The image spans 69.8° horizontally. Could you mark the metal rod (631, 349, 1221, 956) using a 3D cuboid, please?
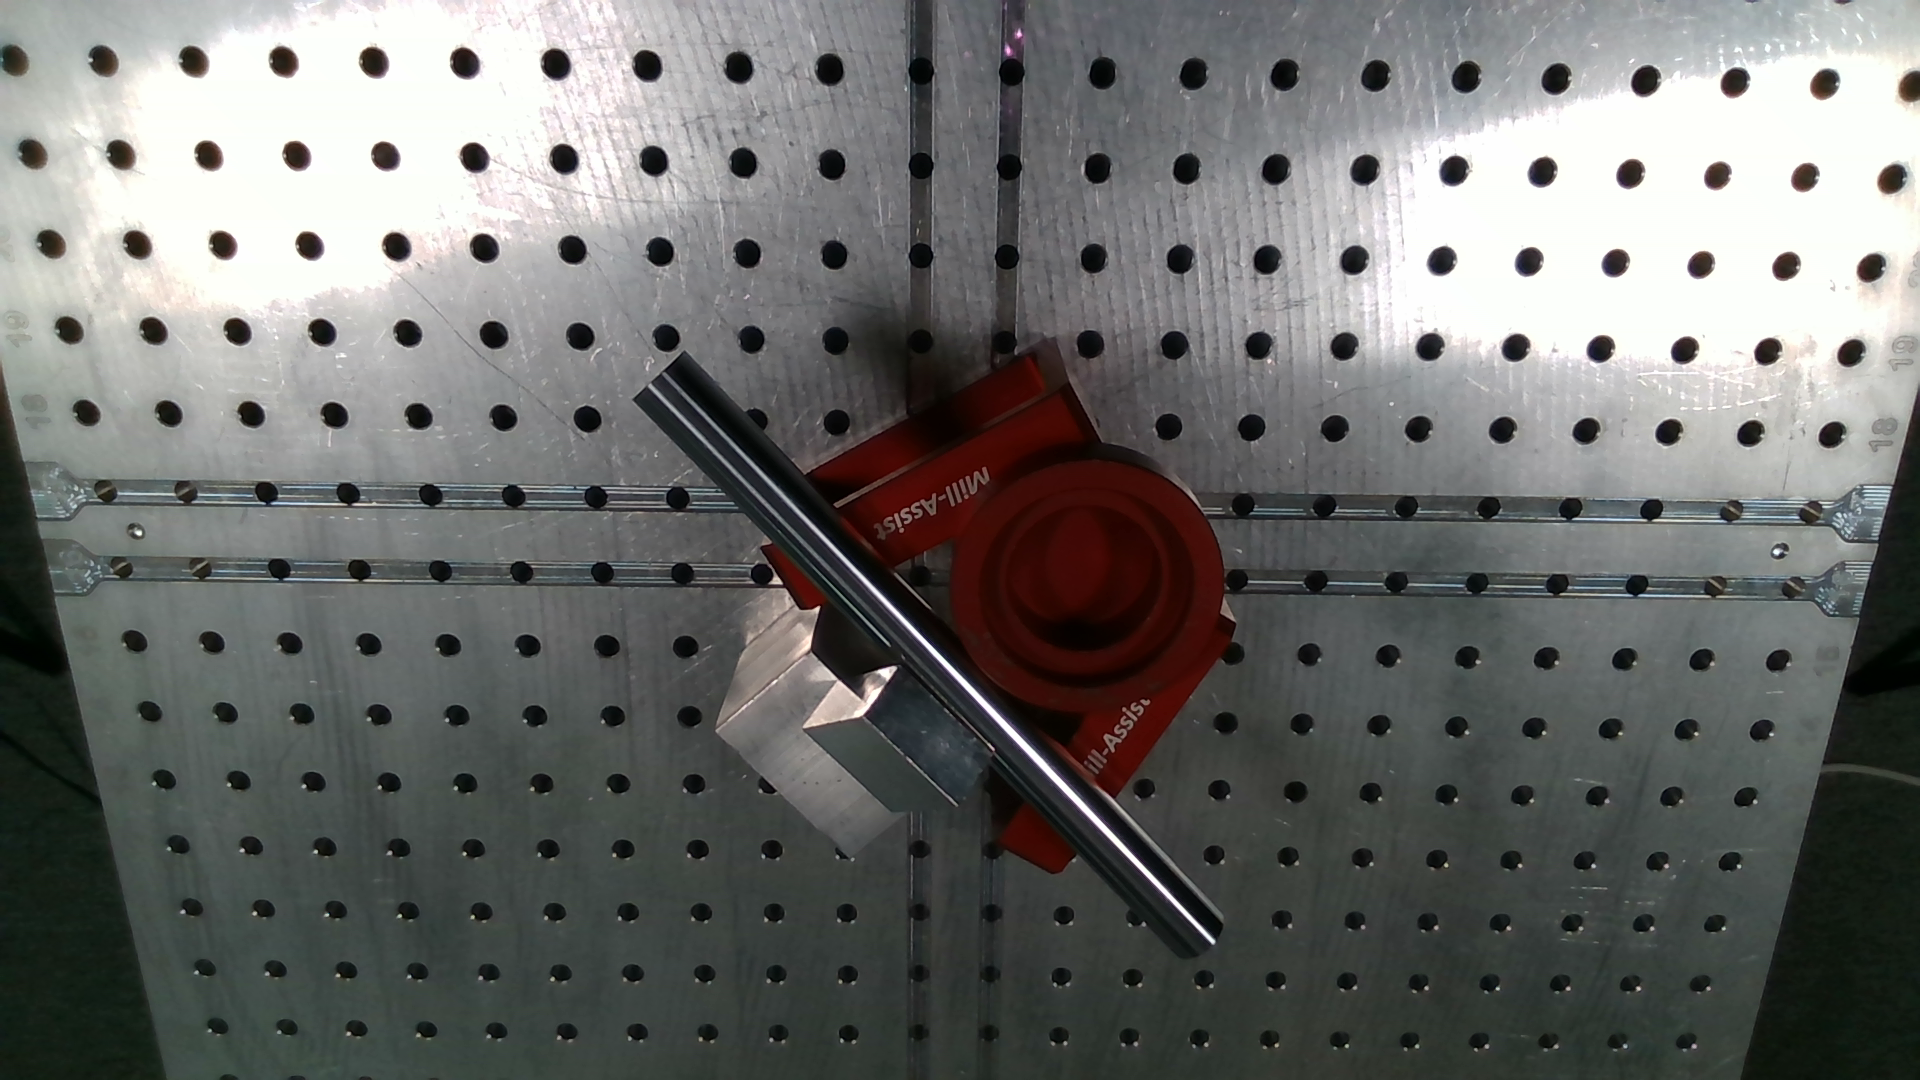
[{"bbox_3d":[-0.005,0.049,0.509,0.025,0.025,0.300,-39,106,13],"label":"metal rod"}]

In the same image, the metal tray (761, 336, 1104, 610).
[{"bbox_3d":[-0.010,-0.029,0.542,0.130,0.090,0.030,-28,108,10],"label":"metal tray"}]

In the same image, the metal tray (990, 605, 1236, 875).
[{"bbox_3d":[0.059,0.064,0.575,0.030,0.090,0.130,30,107,-9],"label":"metal tray"}]

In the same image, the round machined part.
[{"bbox_3d":[0.045,0.010,0.508,0.098,0.042,0.098,0,110,0],"label":"round machined part"}]

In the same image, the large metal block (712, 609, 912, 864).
[{"bbox_3d":[-0.052,0.075,0.582,0.050,0.080,0.080,-40,105,13],"label":"large metal block"}]

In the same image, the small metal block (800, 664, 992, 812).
[{"bbox_3d":[-0.025,0.075,0.515,0.050,0.050,0.025,45,59,-15],"label":"small metal block"}]
